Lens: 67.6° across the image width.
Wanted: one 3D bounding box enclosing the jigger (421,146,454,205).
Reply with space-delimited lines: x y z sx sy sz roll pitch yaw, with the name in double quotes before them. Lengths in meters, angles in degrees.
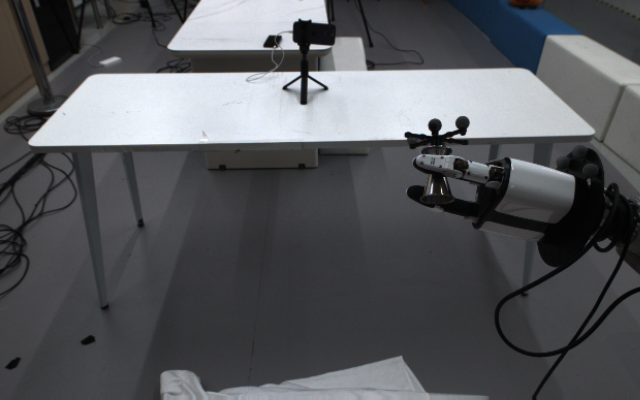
"jigger" 0.152 -0.034 0.637 0.043 0.043 0.071 3 75 1
